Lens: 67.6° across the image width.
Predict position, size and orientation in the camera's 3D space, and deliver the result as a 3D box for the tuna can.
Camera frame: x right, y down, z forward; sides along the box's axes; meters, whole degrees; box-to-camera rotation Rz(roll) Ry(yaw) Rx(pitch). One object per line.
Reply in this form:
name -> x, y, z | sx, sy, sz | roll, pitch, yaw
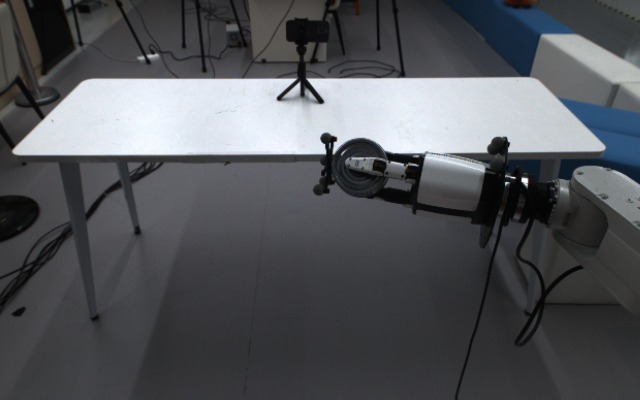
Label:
tuna can -> 0.064, -0.046, 0.718 | 0.085, 0.085, 0.034 | 9, -6, 10
